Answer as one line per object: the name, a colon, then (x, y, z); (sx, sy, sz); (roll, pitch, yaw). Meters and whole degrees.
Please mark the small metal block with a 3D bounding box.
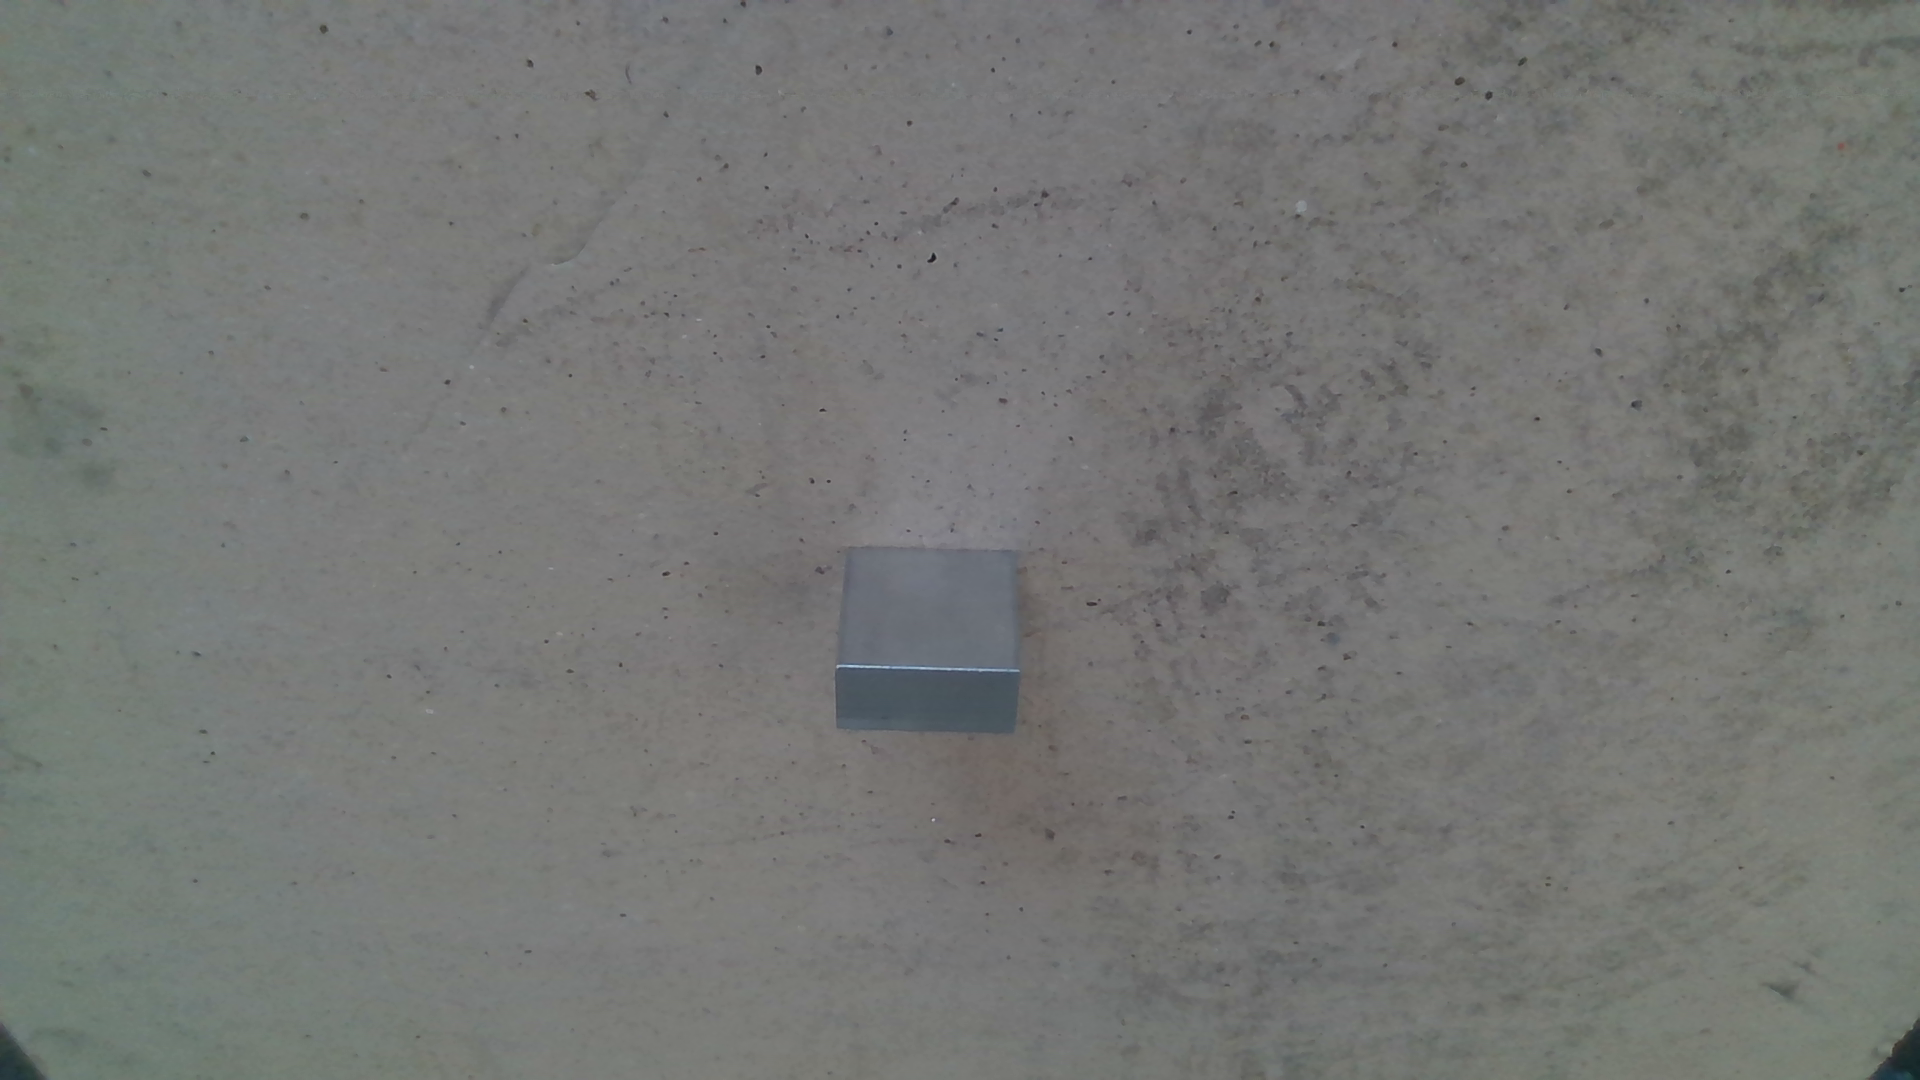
small metal block: (-0.009, 0.027, 0.395); (0.050, 0.050, 0.025); (2, 131, -1)
